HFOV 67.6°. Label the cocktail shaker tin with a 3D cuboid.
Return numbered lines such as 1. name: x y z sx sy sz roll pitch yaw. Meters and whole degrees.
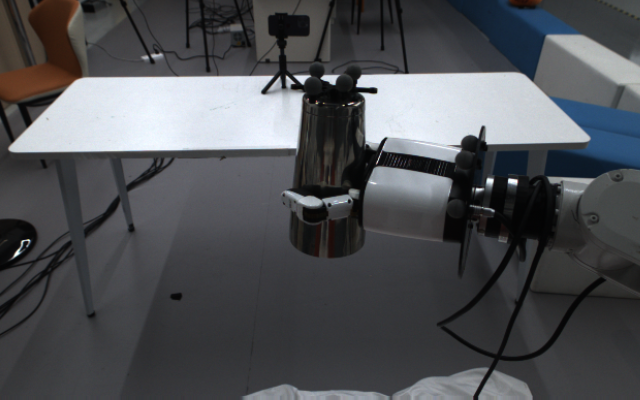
1. cocktail shaker tin: 0.014 -0.032 0.541 0.093 0.170 0.093 2 28 -1
